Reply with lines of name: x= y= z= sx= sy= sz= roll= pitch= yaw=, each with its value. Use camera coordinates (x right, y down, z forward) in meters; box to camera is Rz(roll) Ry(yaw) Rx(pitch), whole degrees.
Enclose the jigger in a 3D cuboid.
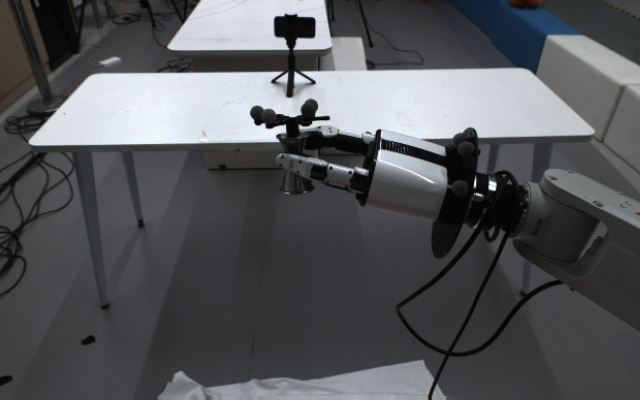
jigger: x=-0.030 y=-0.045 z=0.582 sx=0.043 sy=0.071 sz=0.043 roll=-2 pitch=19 yaw=1
